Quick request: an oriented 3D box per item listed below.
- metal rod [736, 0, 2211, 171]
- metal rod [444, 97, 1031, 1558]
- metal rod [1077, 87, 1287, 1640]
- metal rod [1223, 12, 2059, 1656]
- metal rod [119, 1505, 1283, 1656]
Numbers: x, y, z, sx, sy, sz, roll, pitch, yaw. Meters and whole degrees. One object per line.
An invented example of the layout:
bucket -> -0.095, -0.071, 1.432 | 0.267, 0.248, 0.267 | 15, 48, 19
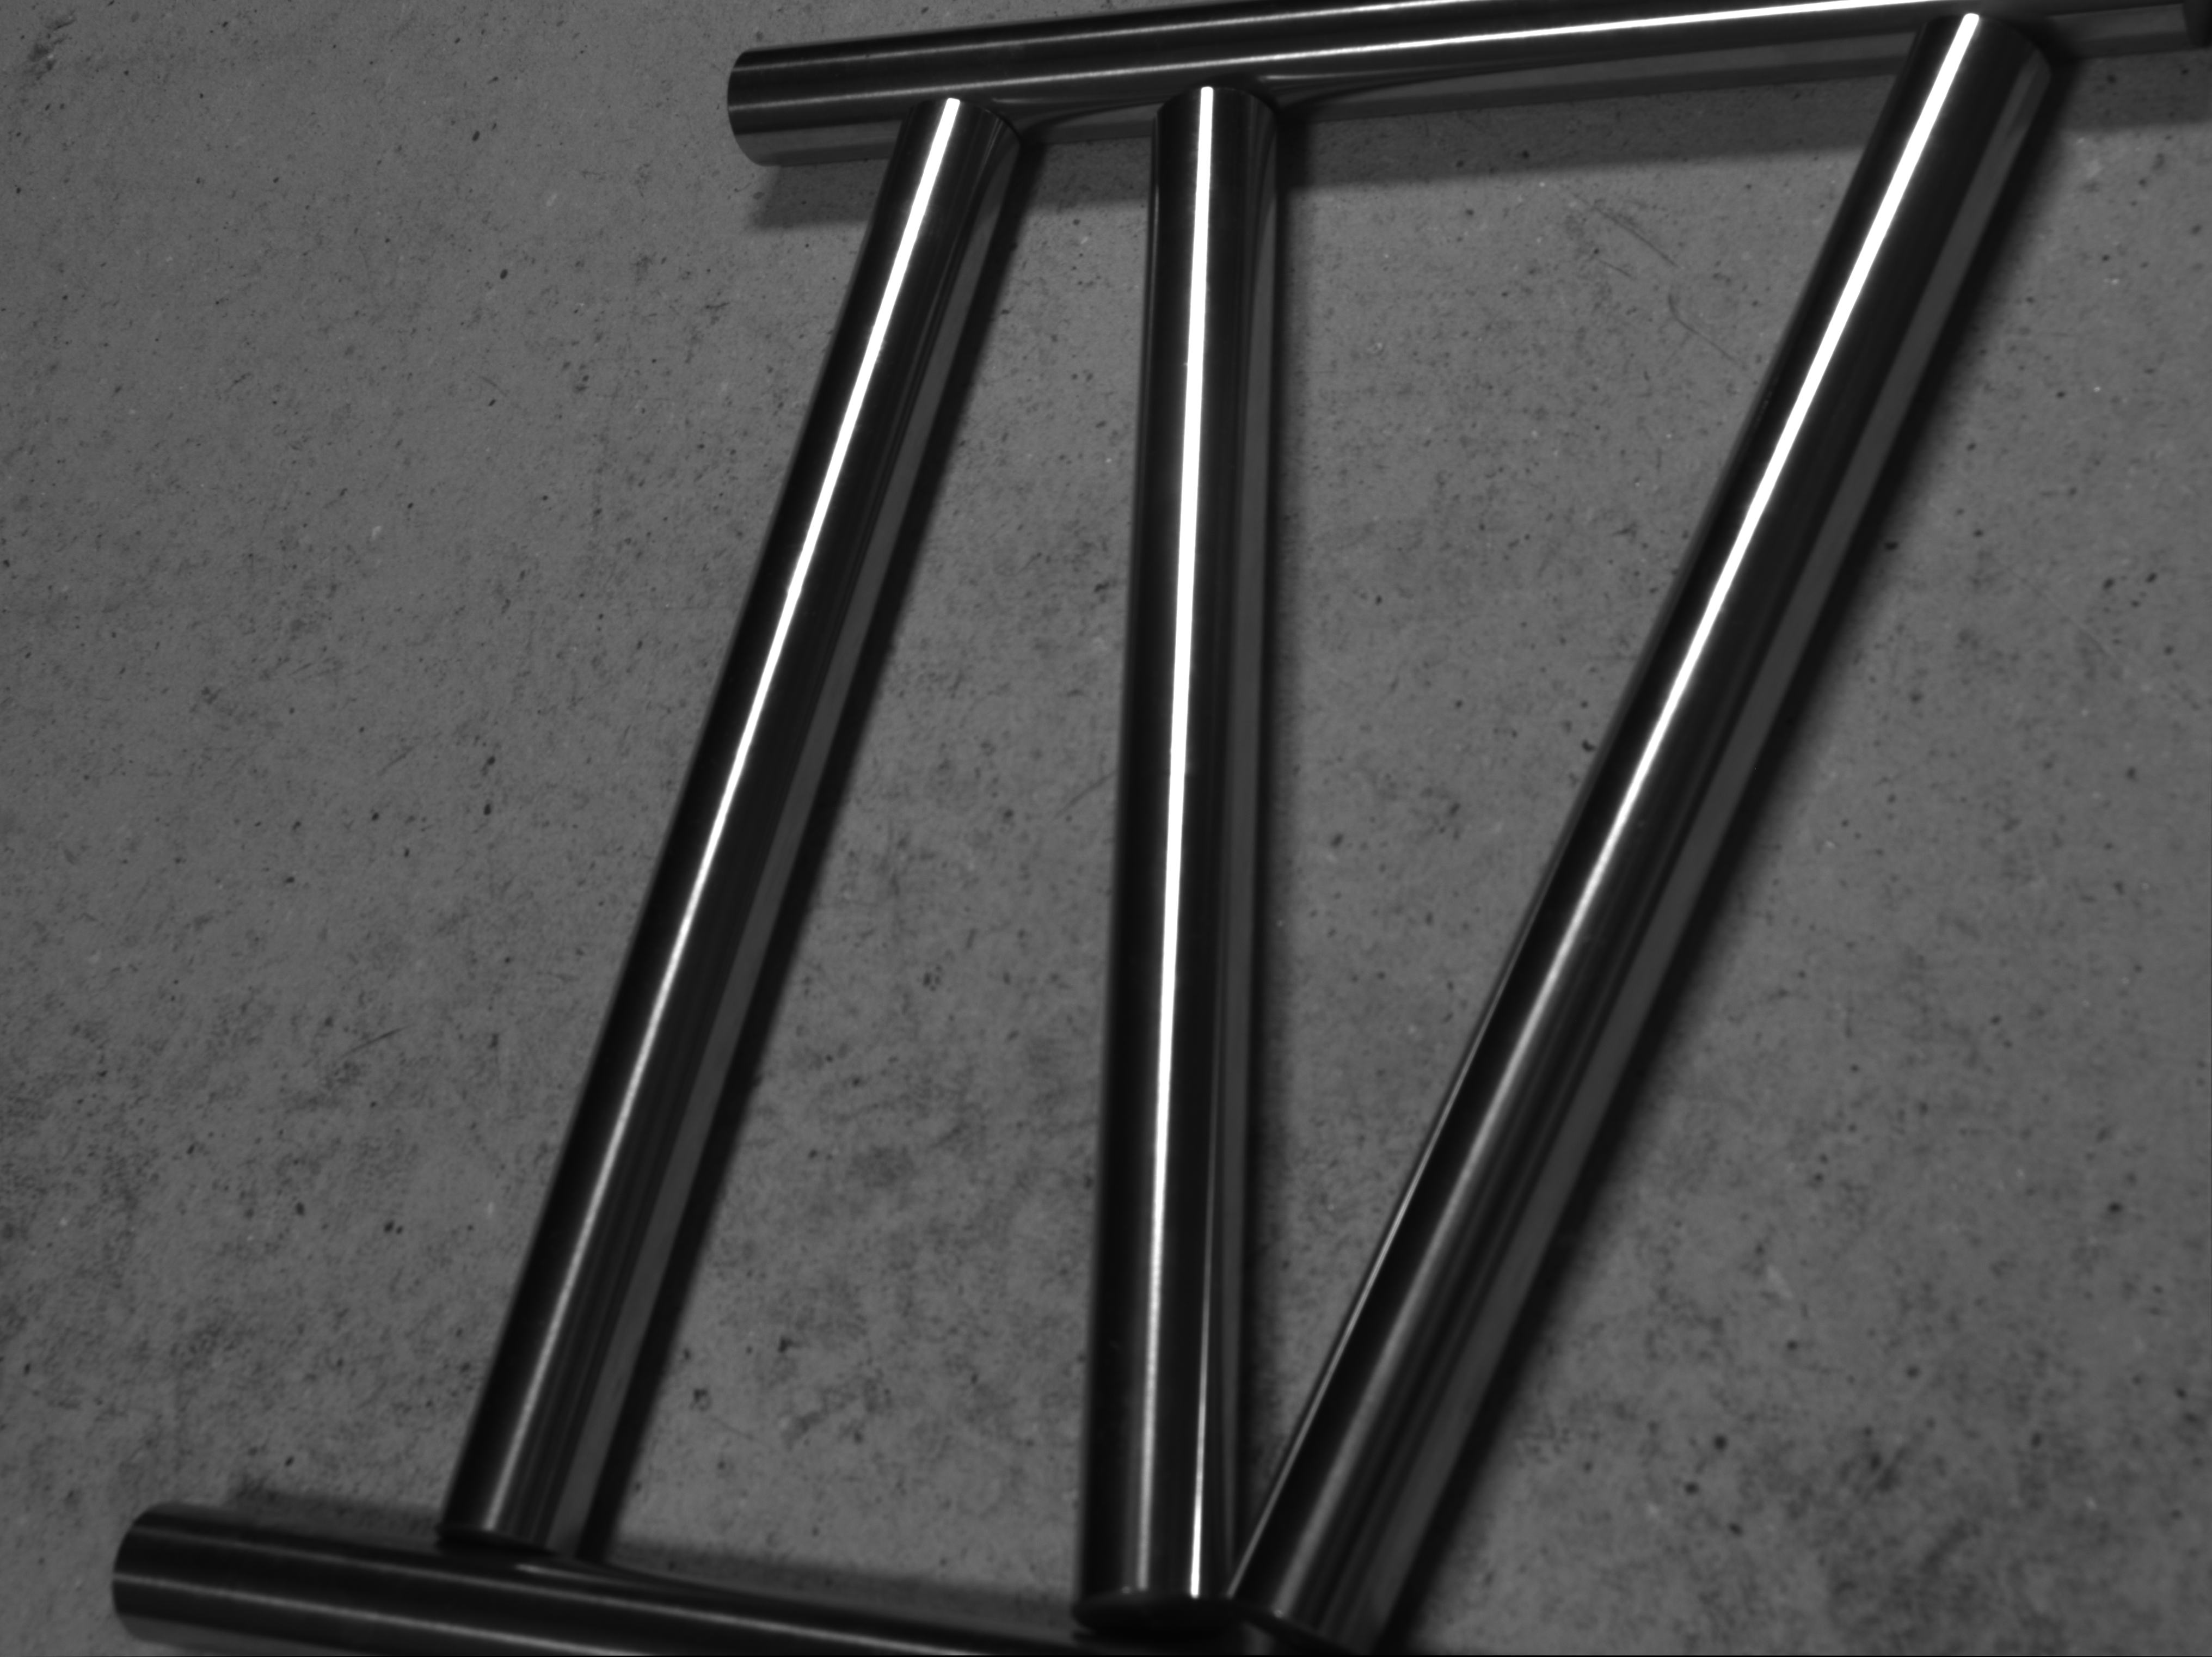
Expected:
metal rod -> 0.060, -0.150, 0.705 | 0.299, 0.025, 0.025 | 1, 62, 29
metal rod -> -0.064, -0.009, 0.684 | 0.025, 0.025, 0.300 | 1, 62, 29
metal rod -> 0.015, -0.007, 0.640 | 0.025, 0.025, 0.300 | -11, 57, 23
metal rod -> 0.092, -0.007, 0.598 | 0.025, 0.025, 0.300 | 14, 69, 34
metal rod -> -0.035, 0.135, 0.579 | 0.299, 0.025, 0.025 | 1, 62, 29
